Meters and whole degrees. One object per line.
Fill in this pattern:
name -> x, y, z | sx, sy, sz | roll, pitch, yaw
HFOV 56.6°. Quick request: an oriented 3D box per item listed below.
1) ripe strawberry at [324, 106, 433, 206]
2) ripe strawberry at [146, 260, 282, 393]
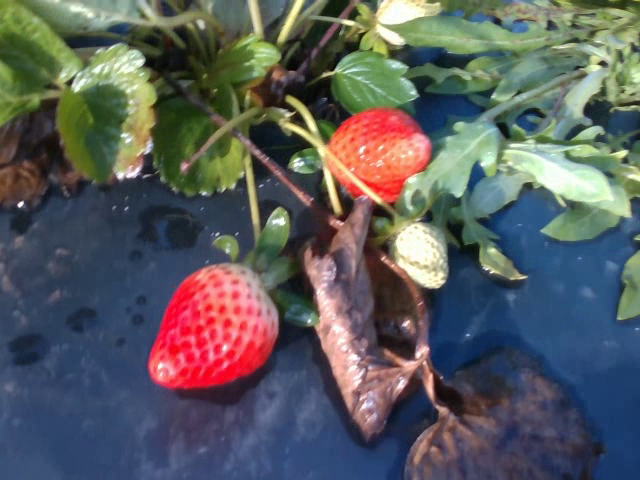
ripe strawberry -> 0.024, -0.034, 0.205 | 0.039, 0.032, 0.048 | -24, 10, -20
ripe strawberry -> -0.030, 0.022, 0.159 | 0.035, 0.030, 0.043 | 28, 50, 23
